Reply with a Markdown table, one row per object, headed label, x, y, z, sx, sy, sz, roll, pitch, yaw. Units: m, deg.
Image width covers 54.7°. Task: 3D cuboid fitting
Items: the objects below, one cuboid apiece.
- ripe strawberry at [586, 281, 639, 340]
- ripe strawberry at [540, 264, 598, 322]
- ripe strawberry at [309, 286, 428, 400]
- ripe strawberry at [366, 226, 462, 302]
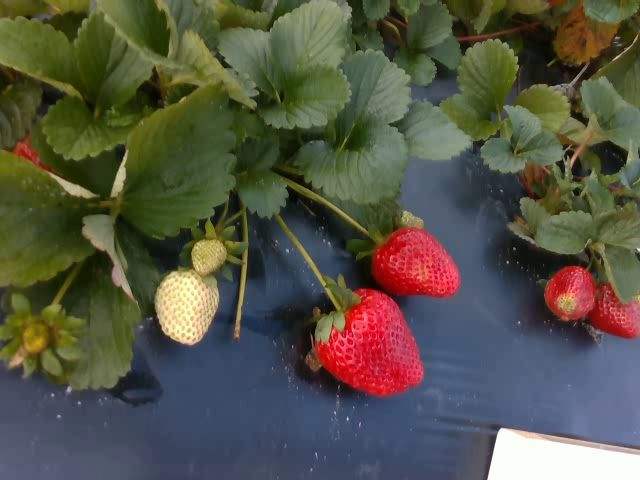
| label | x | y | z | sx | sy | sz | roll | pitch | yaw |
| --- | --- | --- | --- | --- | --- | --- | --- | --- | --- |
| ripe strawberry | 0.214 | 0.056 | 0.428 | 0.043 | 0.041 | 0.049 | 11 | 27 | -23 |
| ripe strawberry | 0.173 | 0.041 | 0.422 | 0.038 | 0.047 | 0.053 | 5 | 13 | 33 |
| ripe strawberry | 0.032 | 0.061 | 0.333 | 0.065 | 0.059 | 0.043 | 45 | -9 | -3 |
| ripe strawberry | 0.063 | 0.017 | 0.371 | 0.059 | 0.051 | 0.051 | 35 | -8 | 28 |
